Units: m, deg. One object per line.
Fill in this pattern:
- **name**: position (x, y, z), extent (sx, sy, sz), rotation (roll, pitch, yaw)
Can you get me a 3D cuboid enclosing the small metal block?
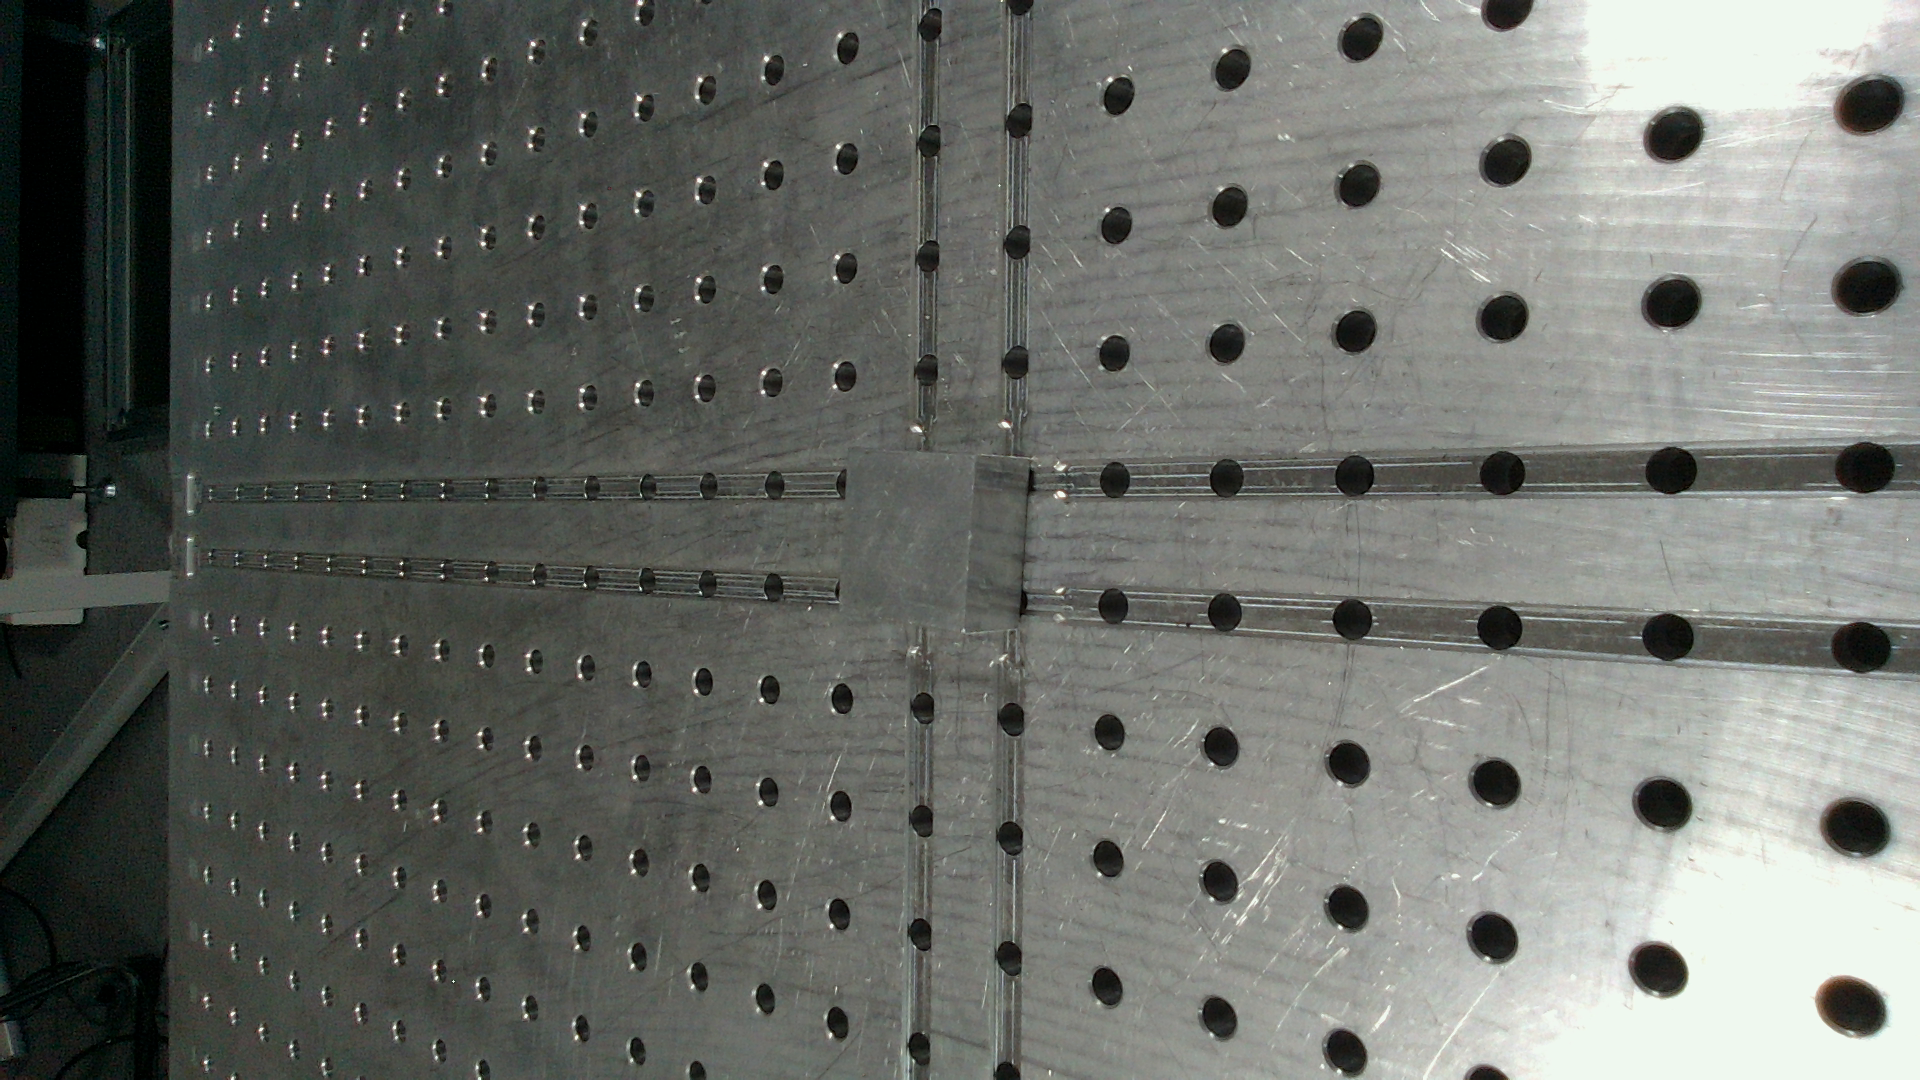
- **small metal block**: position (-0.008, -0.001, 0.405), extent (0.050, 0.025, 0.050), rotation (6, 94, 40)
